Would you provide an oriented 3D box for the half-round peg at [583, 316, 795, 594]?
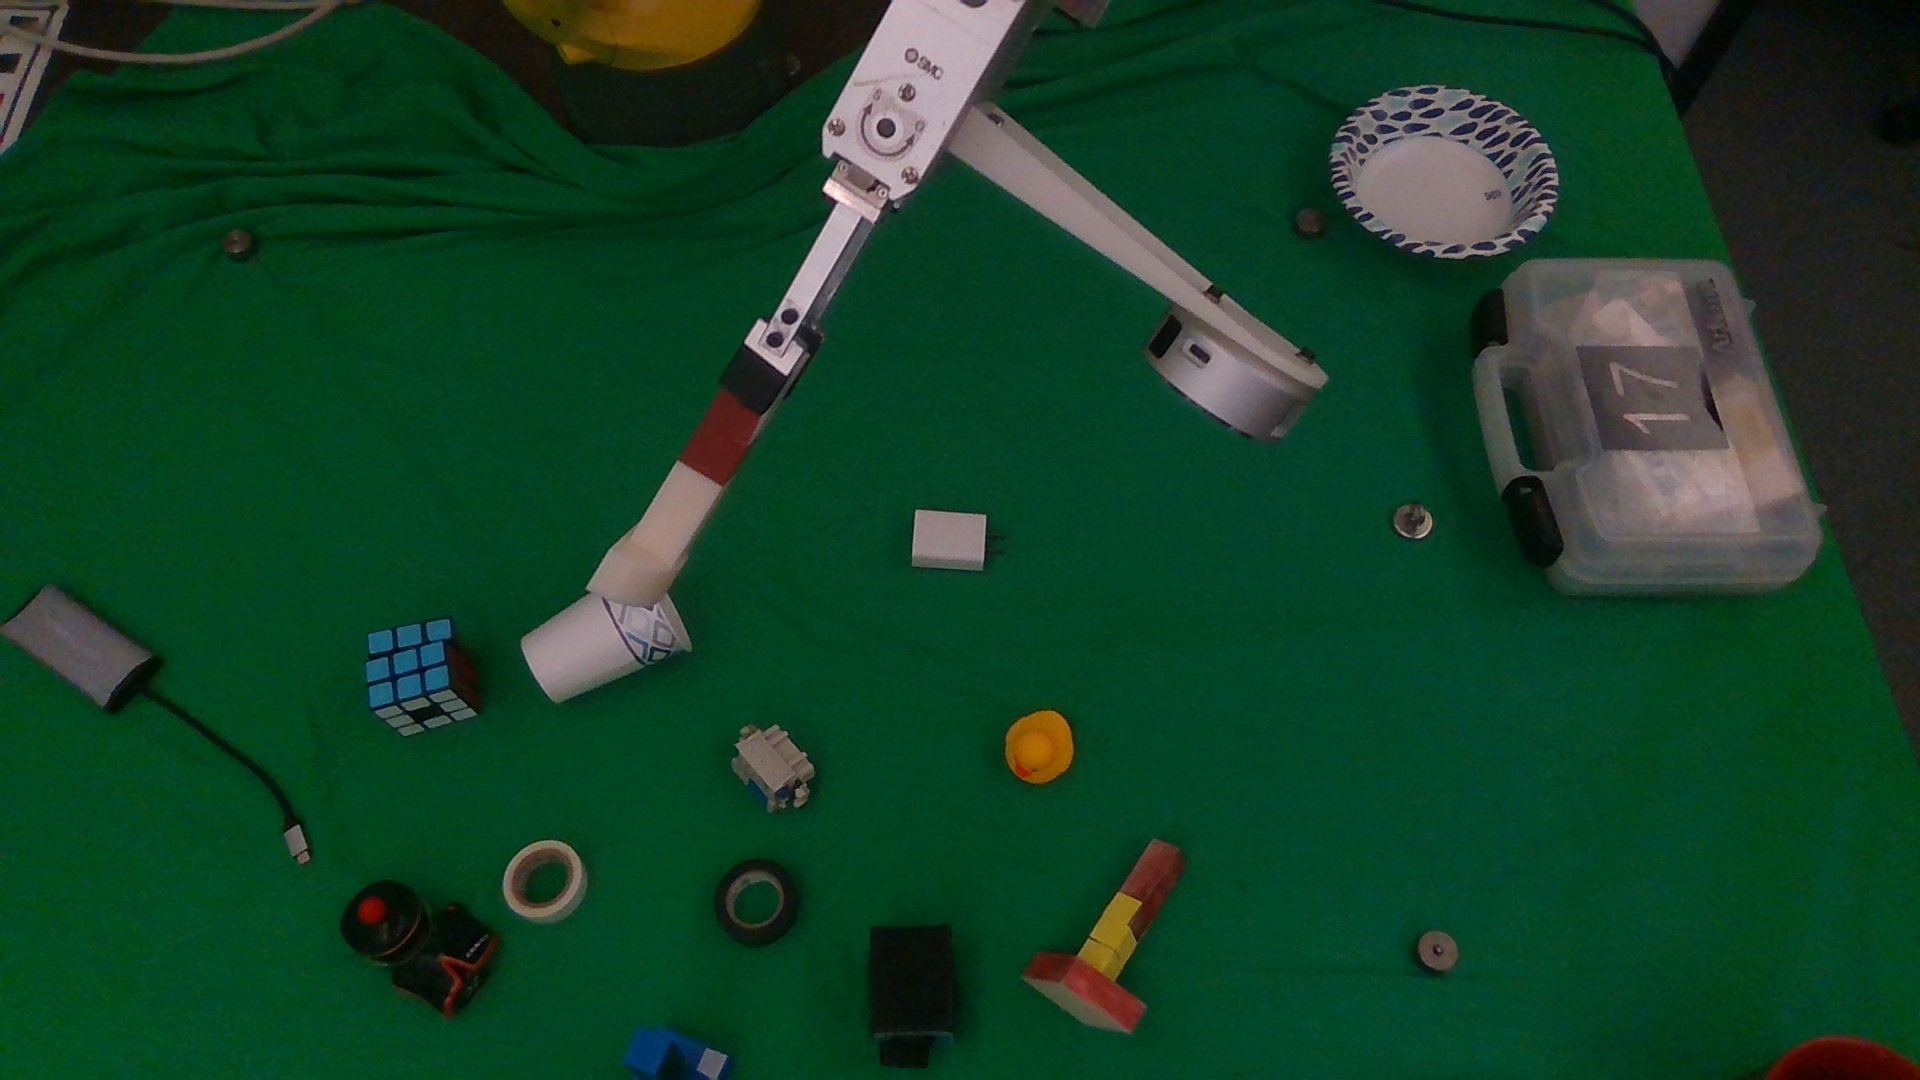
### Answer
[{"bbox_3d":[-0.101,-0.033,0.543,0.031,0.054,0.122,36,111,-3],"label":"half-round peg"}]

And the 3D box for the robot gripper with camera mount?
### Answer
[{"bbox_3d":[0.030,-0.079,0.514,0.193,0.159,0.119,32,22,-3],"label":"robot gripper with camera mount"}]
